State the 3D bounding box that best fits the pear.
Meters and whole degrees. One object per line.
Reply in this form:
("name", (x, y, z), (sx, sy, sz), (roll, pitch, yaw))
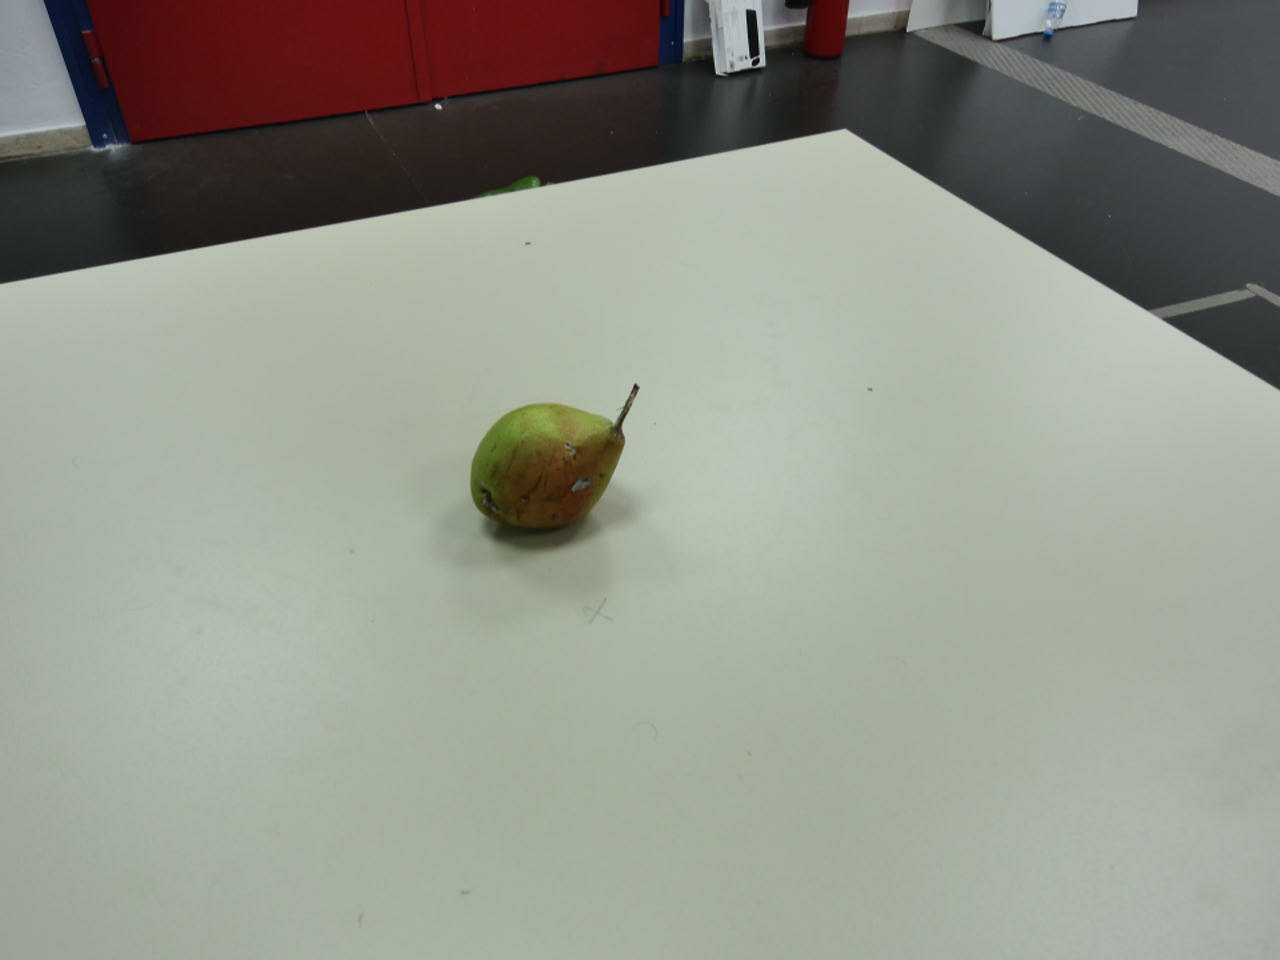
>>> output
("pear", (-0.046, -0.009, 0.492), (0.070, 0.069, 0.068), (16, 41, 20))
